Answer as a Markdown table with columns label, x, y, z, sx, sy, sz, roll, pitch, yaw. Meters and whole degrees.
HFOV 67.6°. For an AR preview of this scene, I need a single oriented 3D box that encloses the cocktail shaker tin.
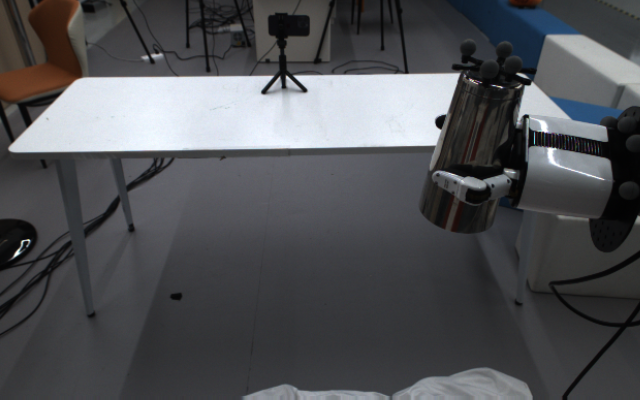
| label | x | y | z | sx | sy | sz | roll | pitch | yaw |
| --- | --- | --- | --- | --- | --- | --- | --- | --- | --- |
| cocktail shaker tin | 0.176 | -0.059 | 0.551 | 0.093 | 0.170 | 0.093 | 3 | 34 | -2 |
